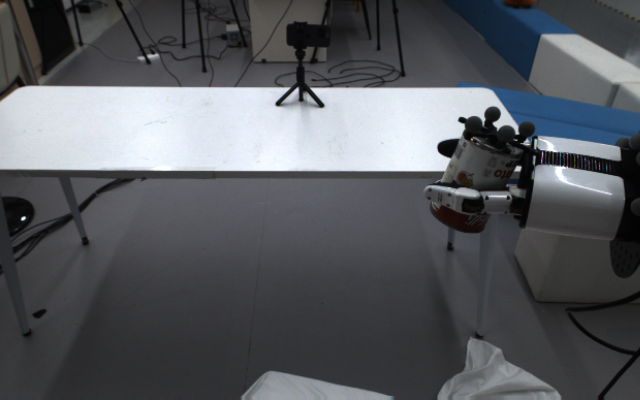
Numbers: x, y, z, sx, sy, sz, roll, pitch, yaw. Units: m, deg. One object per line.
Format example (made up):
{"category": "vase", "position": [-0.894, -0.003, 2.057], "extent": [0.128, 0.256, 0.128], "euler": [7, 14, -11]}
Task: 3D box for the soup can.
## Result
{"category": "soup can", "position": [0.175, -0.023, 0.544], "extent": [0.067, 0.101, 0.067], "euler": [13, 30, -8]}
